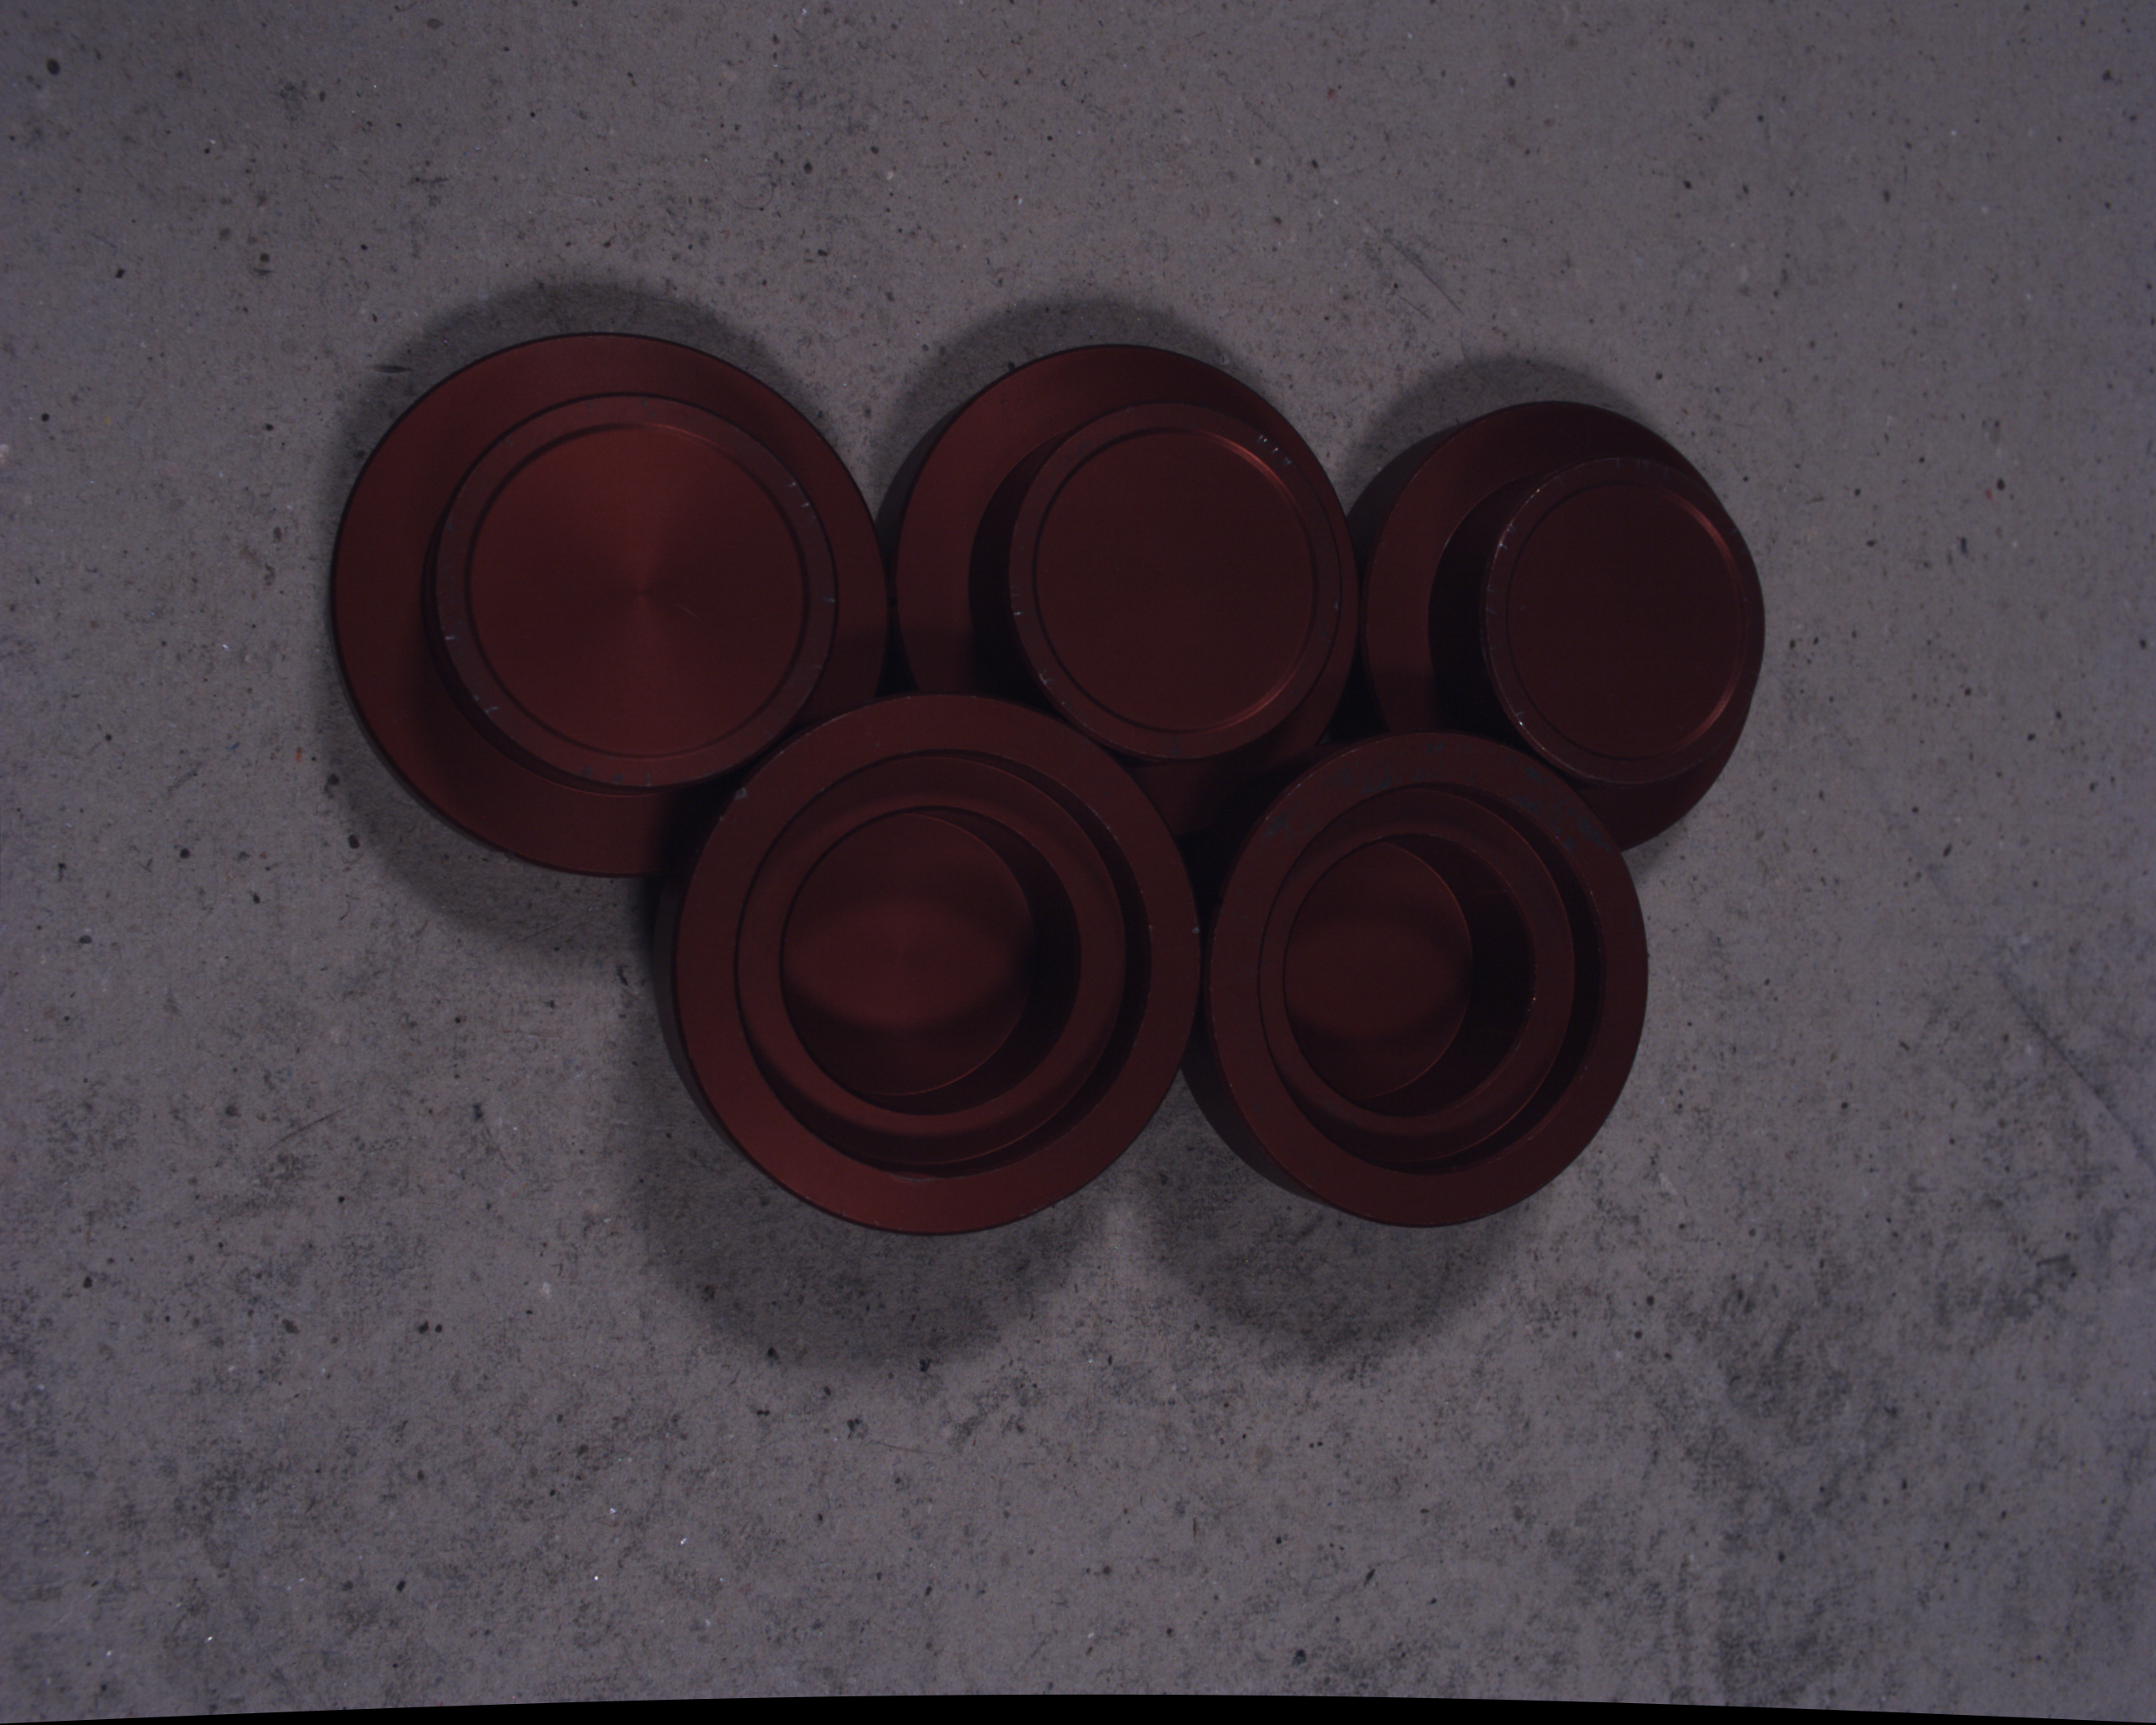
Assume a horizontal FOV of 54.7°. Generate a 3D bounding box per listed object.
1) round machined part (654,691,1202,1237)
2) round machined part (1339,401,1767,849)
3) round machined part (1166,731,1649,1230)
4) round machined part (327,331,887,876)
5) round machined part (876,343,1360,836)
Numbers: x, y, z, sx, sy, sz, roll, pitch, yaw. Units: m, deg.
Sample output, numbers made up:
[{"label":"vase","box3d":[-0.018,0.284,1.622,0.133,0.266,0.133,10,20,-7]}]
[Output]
[{"label":"round machined part","box3d":[-0.030,0.018,0.391,0.099,0.042,0.097,0,90,-21]},{"label":"round machined part","box3d":[0.105,-0.049,0.441,0.099,0.042,0.097,0,90,-21]},{"label":"round machined part","box3d":[0.063,0.023,0.426,0.099,0.042,0.097,0,90,-21]},{"label":"round machined part","box3d":[-0.081,-0.046,0.372,0.099,0.042,0.097,0,90,-21]},{"label":"round machined part","box3d":[0.012,-0.053,0.407,0.099,0.042,0.097,0,90,-21]}]
